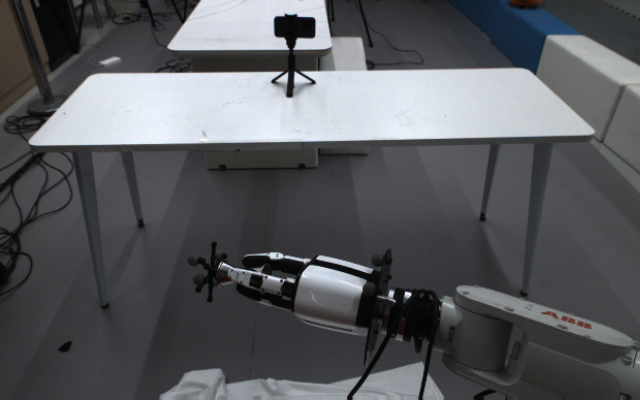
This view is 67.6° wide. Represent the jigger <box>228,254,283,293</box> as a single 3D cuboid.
[{"bbox_3d":[-0.101,0.104,0.696,0.071,0.043,0.043,3,34,15],"label":"jigger"}]
